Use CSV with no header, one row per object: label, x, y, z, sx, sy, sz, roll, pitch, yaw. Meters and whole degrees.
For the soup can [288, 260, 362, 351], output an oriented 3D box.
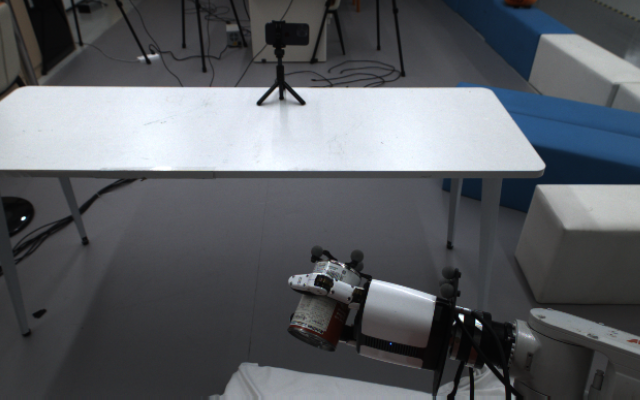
soup can,0.010,0.138,0.637,0.067,0.067,0.101,15,63,18
